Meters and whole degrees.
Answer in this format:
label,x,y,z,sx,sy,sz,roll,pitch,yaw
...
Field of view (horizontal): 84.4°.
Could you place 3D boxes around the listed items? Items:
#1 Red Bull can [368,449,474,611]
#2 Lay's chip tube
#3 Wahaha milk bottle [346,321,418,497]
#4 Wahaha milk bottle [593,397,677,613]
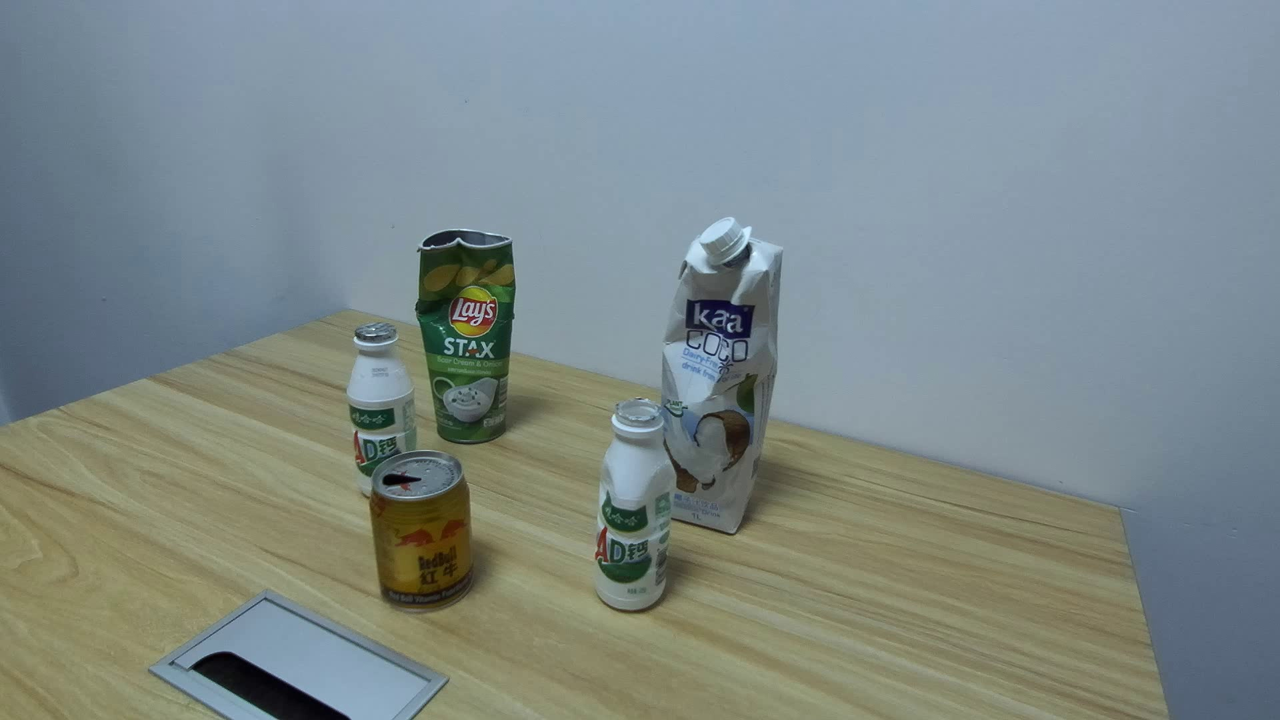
label,x,y,z,sx,sy,sz,roll,pitch,yaw
Red Bull can,-0.151,0.119,0.493,0.067,0.093,0.067,3,23,-1
Lay's chip tube,-0.166,-0.022,0.682,0.077,0.201,0.069,-15,28,-31
Wahaha milk bottle,-0.215,0.044,0.589,0.053,0.147,0.053,2,23,-1
Wahaha milk bottle,-0.005,0.100,0.482,0.055,0.149,0.055,1,24,0
